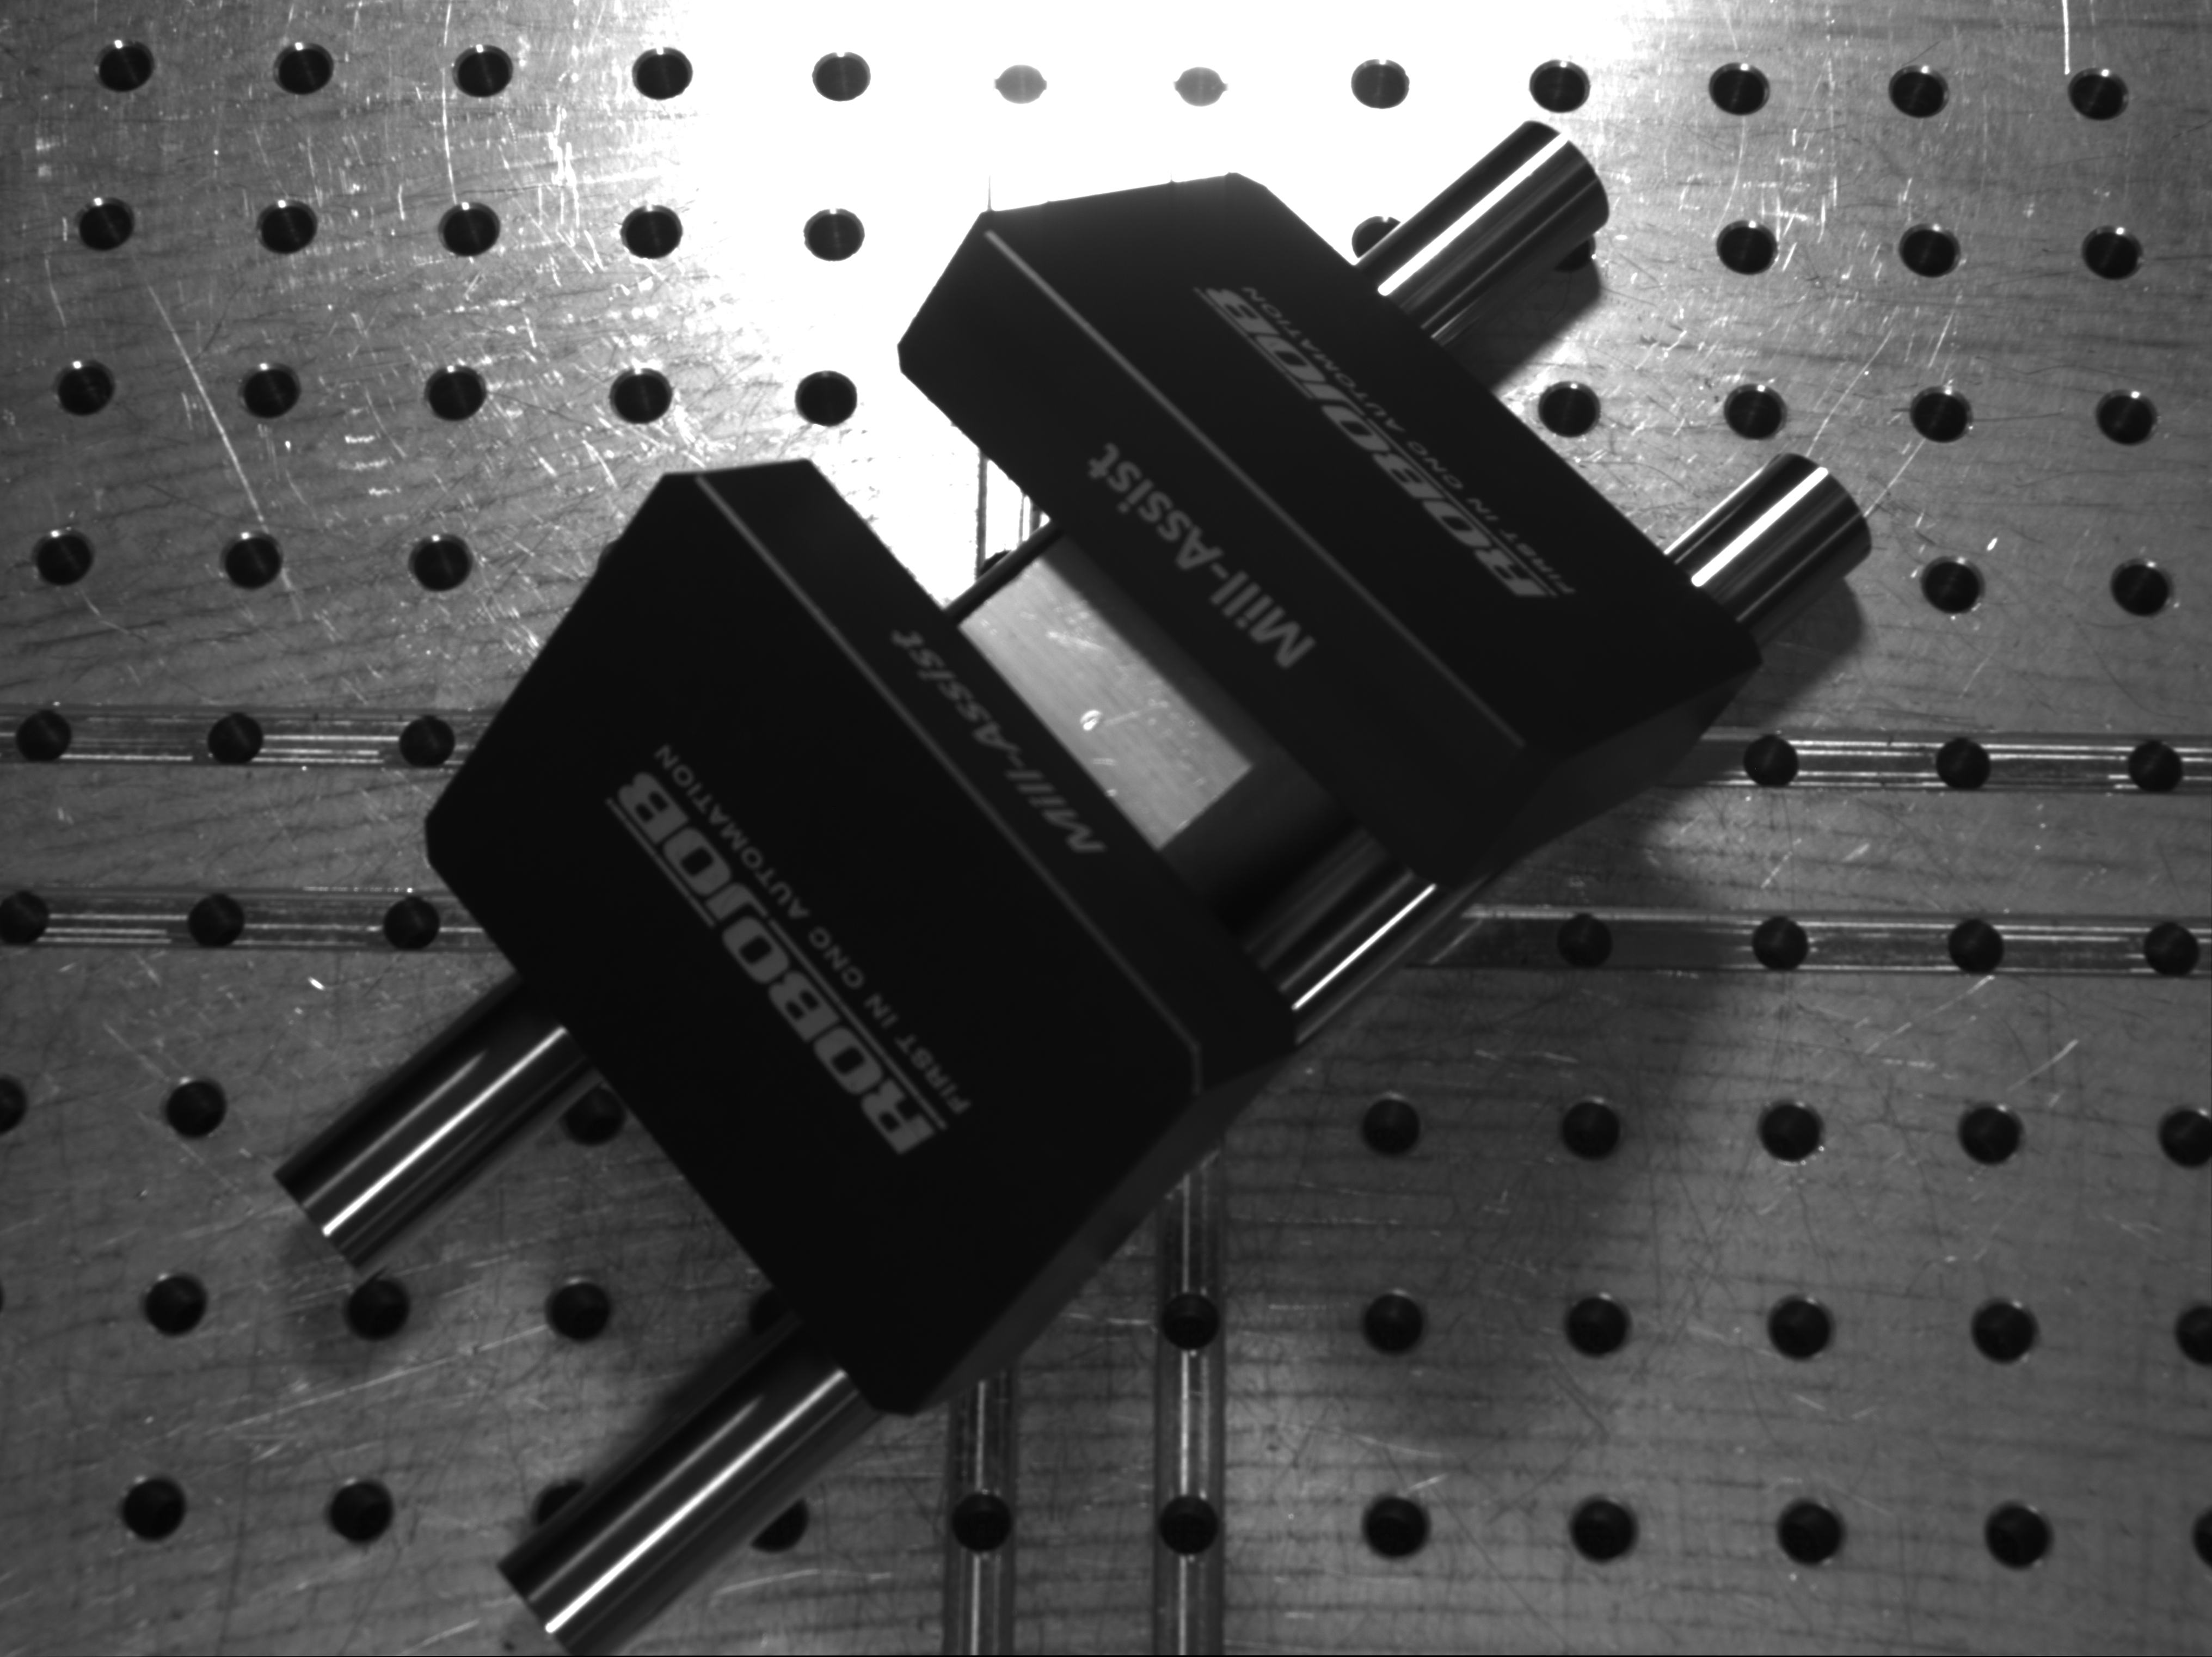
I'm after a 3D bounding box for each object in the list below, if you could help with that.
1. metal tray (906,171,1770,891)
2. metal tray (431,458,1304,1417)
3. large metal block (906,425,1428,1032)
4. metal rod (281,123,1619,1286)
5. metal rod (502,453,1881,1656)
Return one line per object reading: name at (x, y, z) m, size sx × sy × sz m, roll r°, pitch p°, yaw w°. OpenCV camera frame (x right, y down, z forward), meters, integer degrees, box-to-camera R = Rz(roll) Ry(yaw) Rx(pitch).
metal tray at (0.040, -0.054, 0.609) m, size 0.130 × 0.030 × 0.090 m, roll 45°, pitch 32°, yaw 15°
metal tray at (-0.041, 0.016, 0.584) m, size 0.130 × 0.030 × 0.090 m, roll 49°, pitch 120°, yaw 15°
large metal block at (0.006, -0.012, 0.622) m, size 0.080 × 0.080 × 0.050 m, roll -40°, pitch 75°, yaw -13°
metal rod at (-0.022, -0.027, 0.658) m, size 0.300 × 0.025 × 0.025 m, roll -41°, pitch 75°, yaw -14°
metal rod at (0.021, 0.035, 0.635) m, size 0.300 × 0.025 × 0.025 m, roll -40°, pitch 75°, yaw -13°
